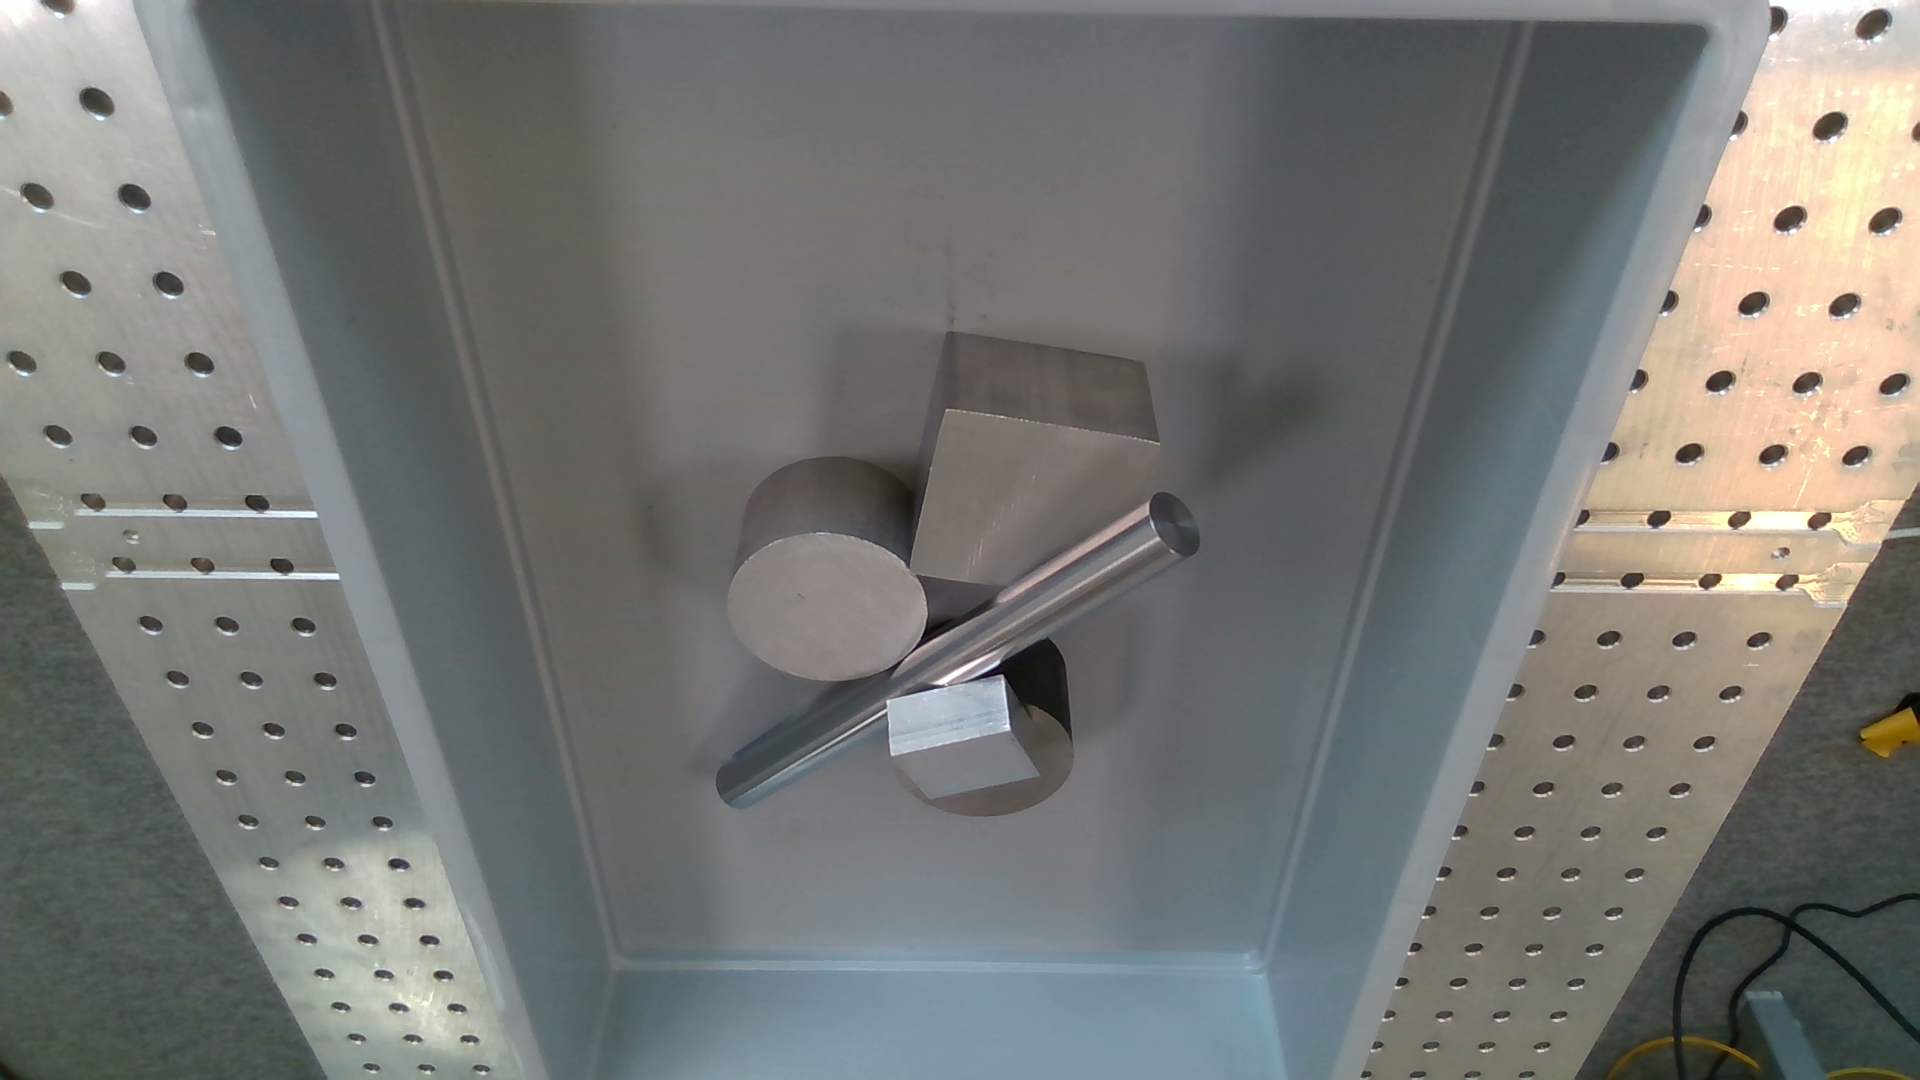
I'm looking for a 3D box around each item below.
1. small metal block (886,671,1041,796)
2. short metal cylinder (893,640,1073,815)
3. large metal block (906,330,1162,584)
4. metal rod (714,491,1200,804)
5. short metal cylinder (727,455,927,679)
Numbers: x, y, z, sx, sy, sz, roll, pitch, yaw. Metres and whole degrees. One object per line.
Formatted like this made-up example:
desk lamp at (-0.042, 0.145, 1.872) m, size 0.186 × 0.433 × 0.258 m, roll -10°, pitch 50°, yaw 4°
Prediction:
small metal block at (0.002, 0.082, 0.573) m, size 0.050 × 0.025 × 0.050 m, roll -14°, pitch 146°, yaw 11°
short metal cylinder at (0.010, 0.080, 0.630) m, size 0.080 × 0.050 × 0.080 m, roll 0°, pitch 130°, yaw 0°
large metal block at (0.026, -0.028, 0.536) m, size 0.080 × 0.050 × 0.080 m, roll 8°, pitch 130°, yaw -7°
metal rod at (-0.018, 0.057, 0.580) m, size 0.025 × 0.025 × 0.301 m, roll 32°, pitch 137°, yaw -24°
short metal cylinder at (-0.053, 0.012, 0.572) m, size 0.080 × 0.050 × 0.080 m, roll 0°, pitch 130°, yaw 0°
